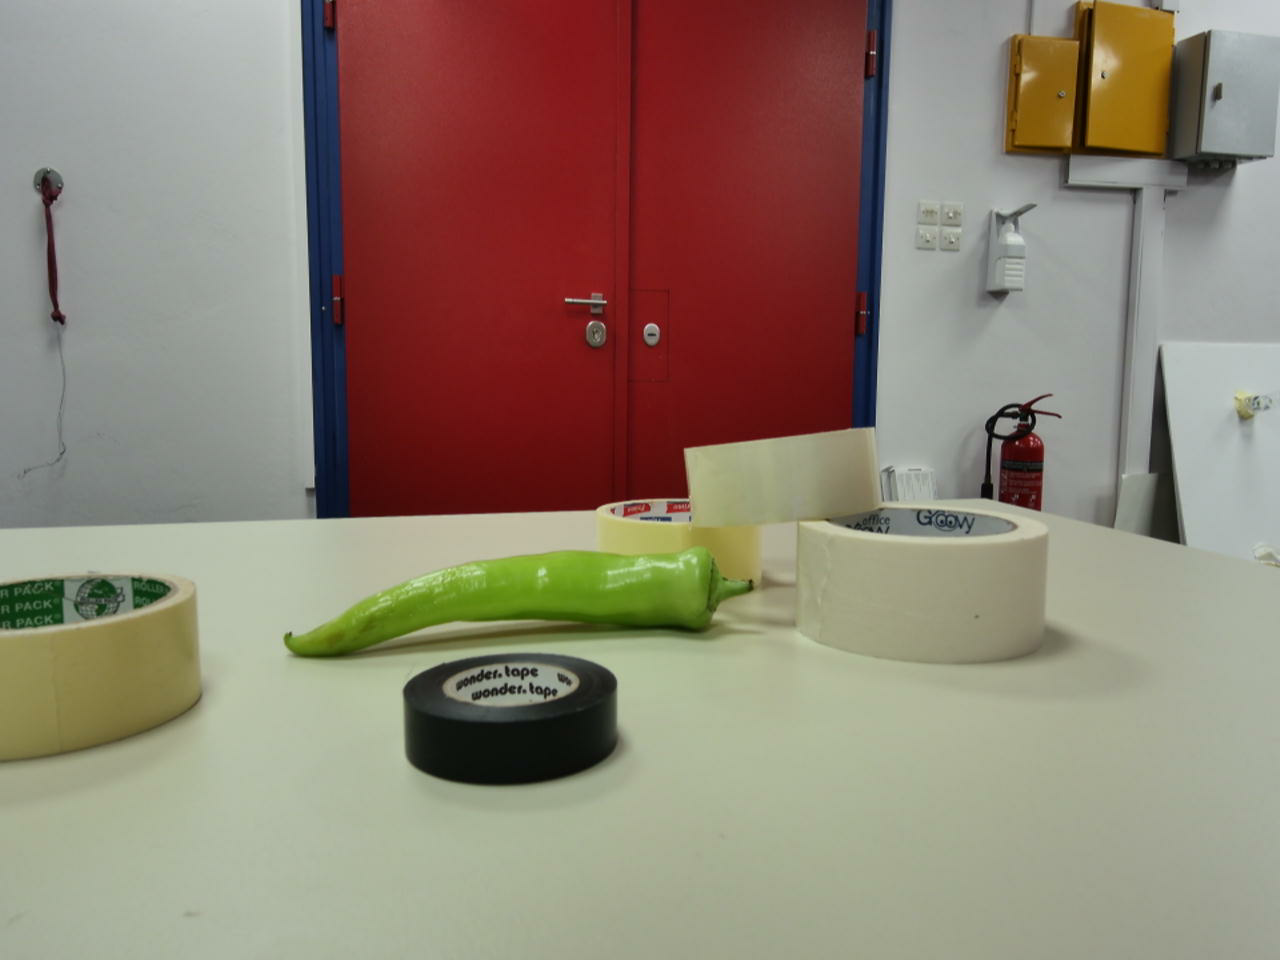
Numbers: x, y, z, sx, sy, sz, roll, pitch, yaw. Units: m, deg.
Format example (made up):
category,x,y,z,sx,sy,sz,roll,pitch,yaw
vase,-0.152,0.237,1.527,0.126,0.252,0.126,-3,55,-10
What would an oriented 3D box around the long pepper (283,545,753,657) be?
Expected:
category,x,y,z,sx,sy,sz,roll,pitch,yaw
long pepper,-0.049,0.050,0.433,0.197,0.038,0.047,-1,4,-11
